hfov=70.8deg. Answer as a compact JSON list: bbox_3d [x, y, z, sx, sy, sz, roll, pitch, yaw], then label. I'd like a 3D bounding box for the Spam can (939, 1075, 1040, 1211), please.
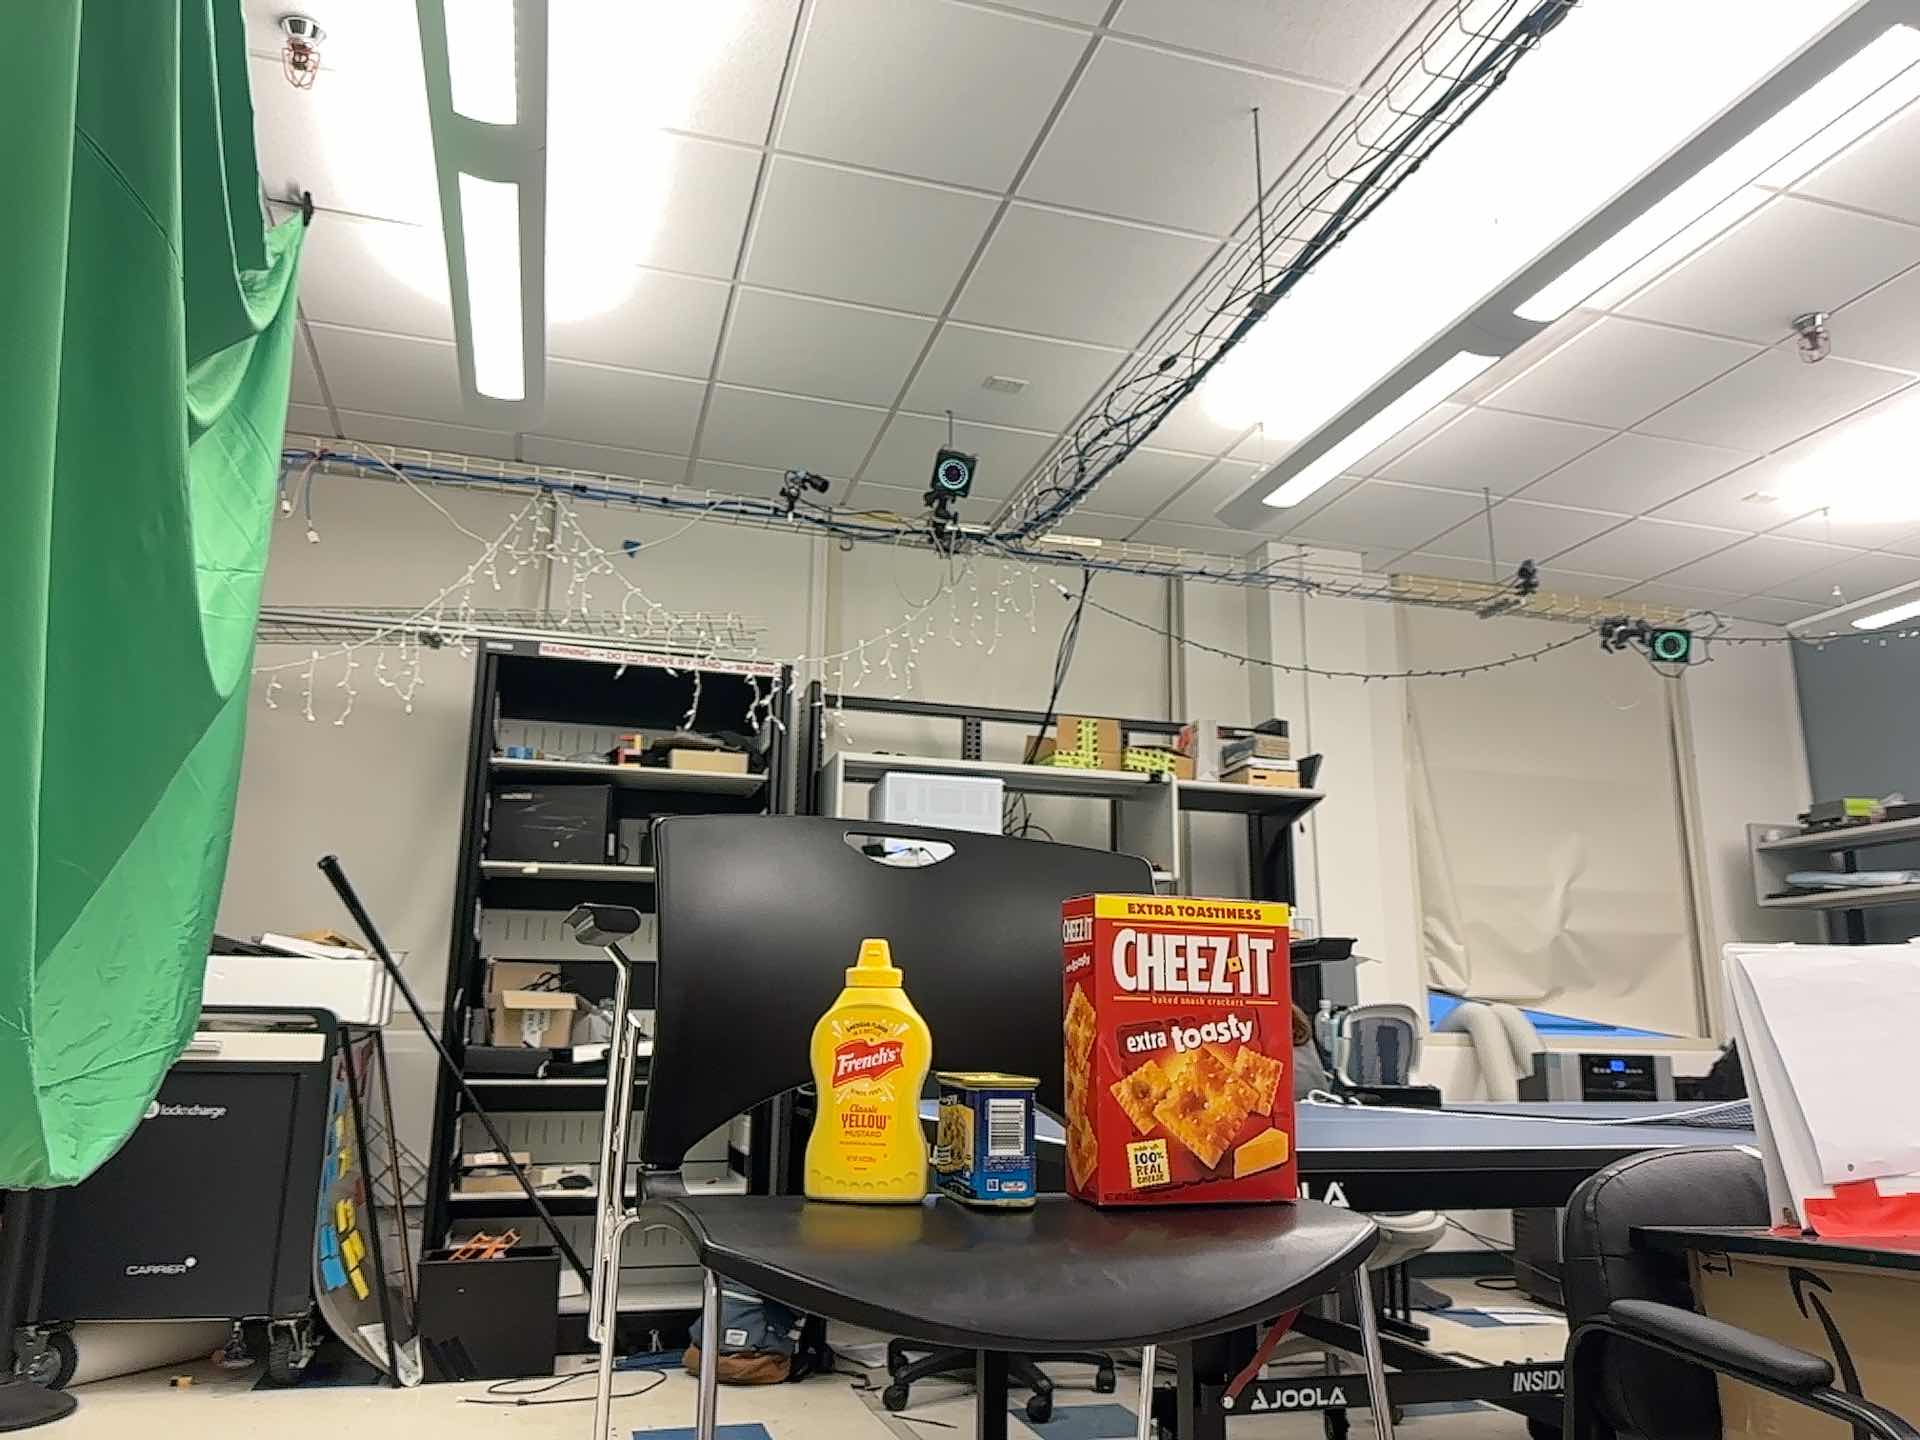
[{"bbox_3d":[0.019,0.308,0.994,0.056,0.083,0.100,6,-11,-13],"label":"Spam can"}]

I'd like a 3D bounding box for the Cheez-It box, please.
[{"bbox_3d":[0.167,0.245,1.029,0.159,0.214,0.062,4,-14,-15],"label":"Cheez-It box"}]

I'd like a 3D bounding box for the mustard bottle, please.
[{"bbox_3d":[-0.067,0.253,0.985,0.092,0.184,0.054,2,-11,1],"label":"mustard bottle"}]
